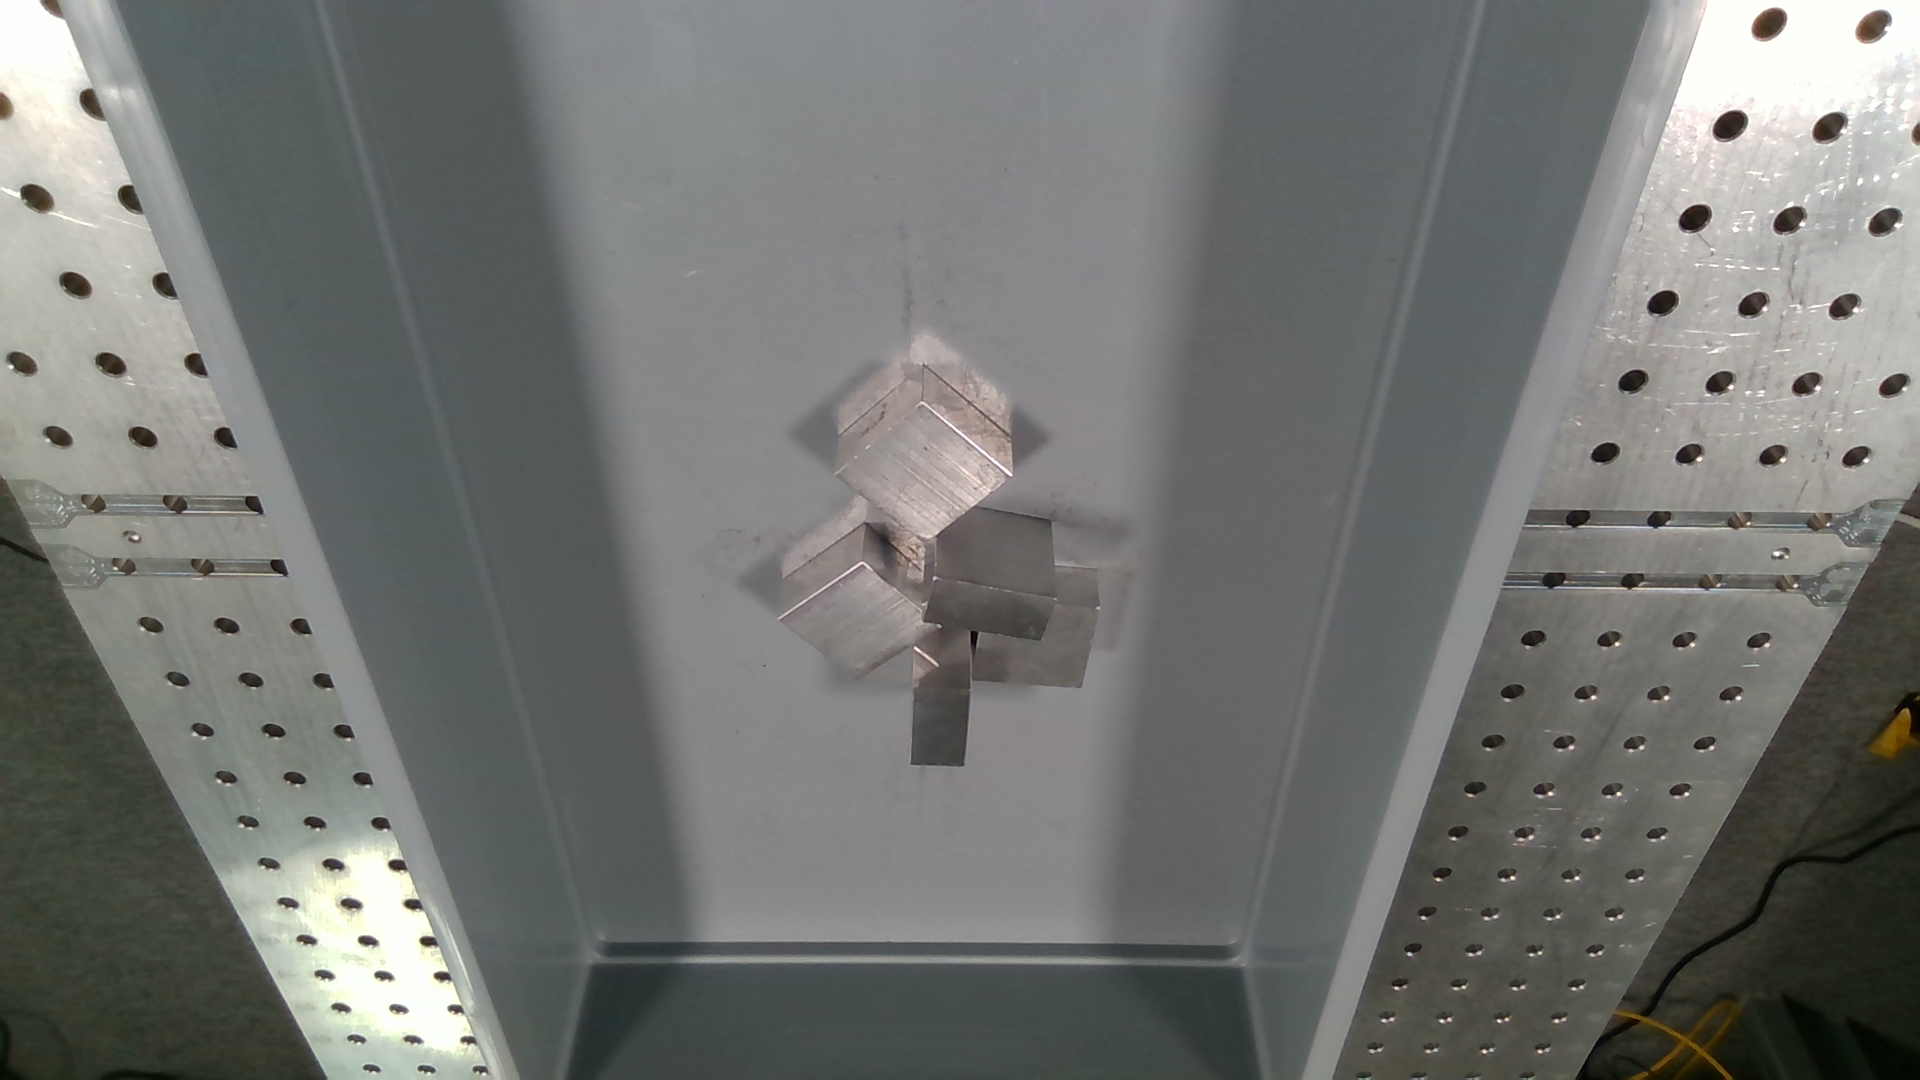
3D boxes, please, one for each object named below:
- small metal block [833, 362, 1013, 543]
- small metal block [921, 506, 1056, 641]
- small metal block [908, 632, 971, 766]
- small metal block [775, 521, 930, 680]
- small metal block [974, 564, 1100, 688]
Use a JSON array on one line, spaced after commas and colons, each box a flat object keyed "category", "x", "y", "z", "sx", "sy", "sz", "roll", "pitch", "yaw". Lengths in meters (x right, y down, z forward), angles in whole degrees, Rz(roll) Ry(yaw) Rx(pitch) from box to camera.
[{"category": "small metal block", "x": -0.014, "y": -0.034, "z": 0.549, "sx": 0.050, "sy": 0.025, "sz": 0.050, "roll": -37, "pitch": 121, "yaw": 27}, {"category": "small metal block", "x": 0.011, "y": 0.012, "z": 0.571, "sx": 0.050, "sy": 0.050, "sz": 0.025, "roll": 10, "pitch": 129, "yaw": -8}, {"category": "small metal block", "x": -0.009, "y": 0.065, "z": 0.615, "sx": 0.025, "sy": 0.050, "sz": 0.050, "roll": 2, "pitch": 130, "yaw": -2}, {"category": "small metal block", "x": -0.044, "y": 0.027, "z": 0.599, "sx": 0.050, "sy": 0.025, "sz": 0.050, "roll": -33, "pitch": 122, "yaw": 25}, {"category": "small metal block", "x": 0.032, "y": 0.037, "z": 0.608, "sx": 0.050, "sy": 0.025, "sz": 0.050, "roll": 5, "pitch": 130, "yaw": -4}]
